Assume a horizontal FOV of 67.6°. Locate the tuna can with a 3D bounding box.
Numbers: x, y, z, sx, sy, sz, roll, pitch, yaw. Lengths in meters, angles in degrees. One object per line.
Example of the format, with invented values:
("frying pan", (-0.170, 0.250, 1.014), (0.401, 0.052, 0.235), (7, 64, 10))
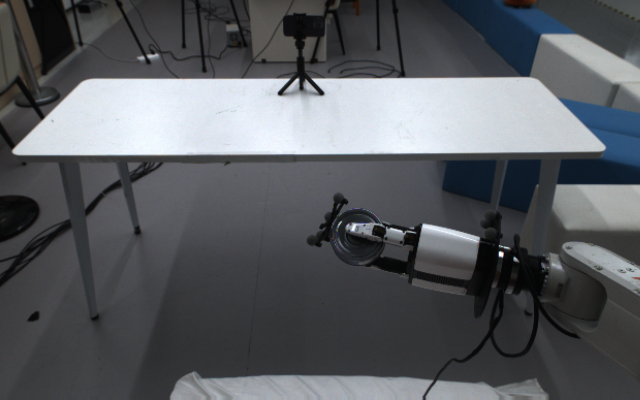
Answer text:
("tuna can", (0.061, 0.056, 0.745), (0.085, 0.034, 0.085), (-2, 71, 6))
